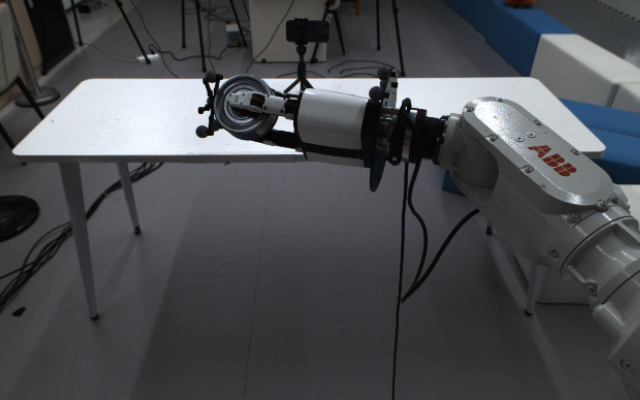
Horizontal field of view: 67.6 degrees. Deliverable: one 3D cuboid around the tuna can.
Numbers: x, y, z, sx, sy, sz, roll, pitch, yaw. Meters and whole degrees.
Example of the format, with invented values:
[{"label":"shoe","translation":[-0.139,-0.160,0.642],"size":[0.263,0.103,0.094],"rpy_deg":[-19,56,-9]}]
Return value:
[{"label":"tuna can","translation":[-0.100,-0.128,0.664],"size":[0.085,0.085,0.034],"rpy_deg":[10,-6,11]}]
